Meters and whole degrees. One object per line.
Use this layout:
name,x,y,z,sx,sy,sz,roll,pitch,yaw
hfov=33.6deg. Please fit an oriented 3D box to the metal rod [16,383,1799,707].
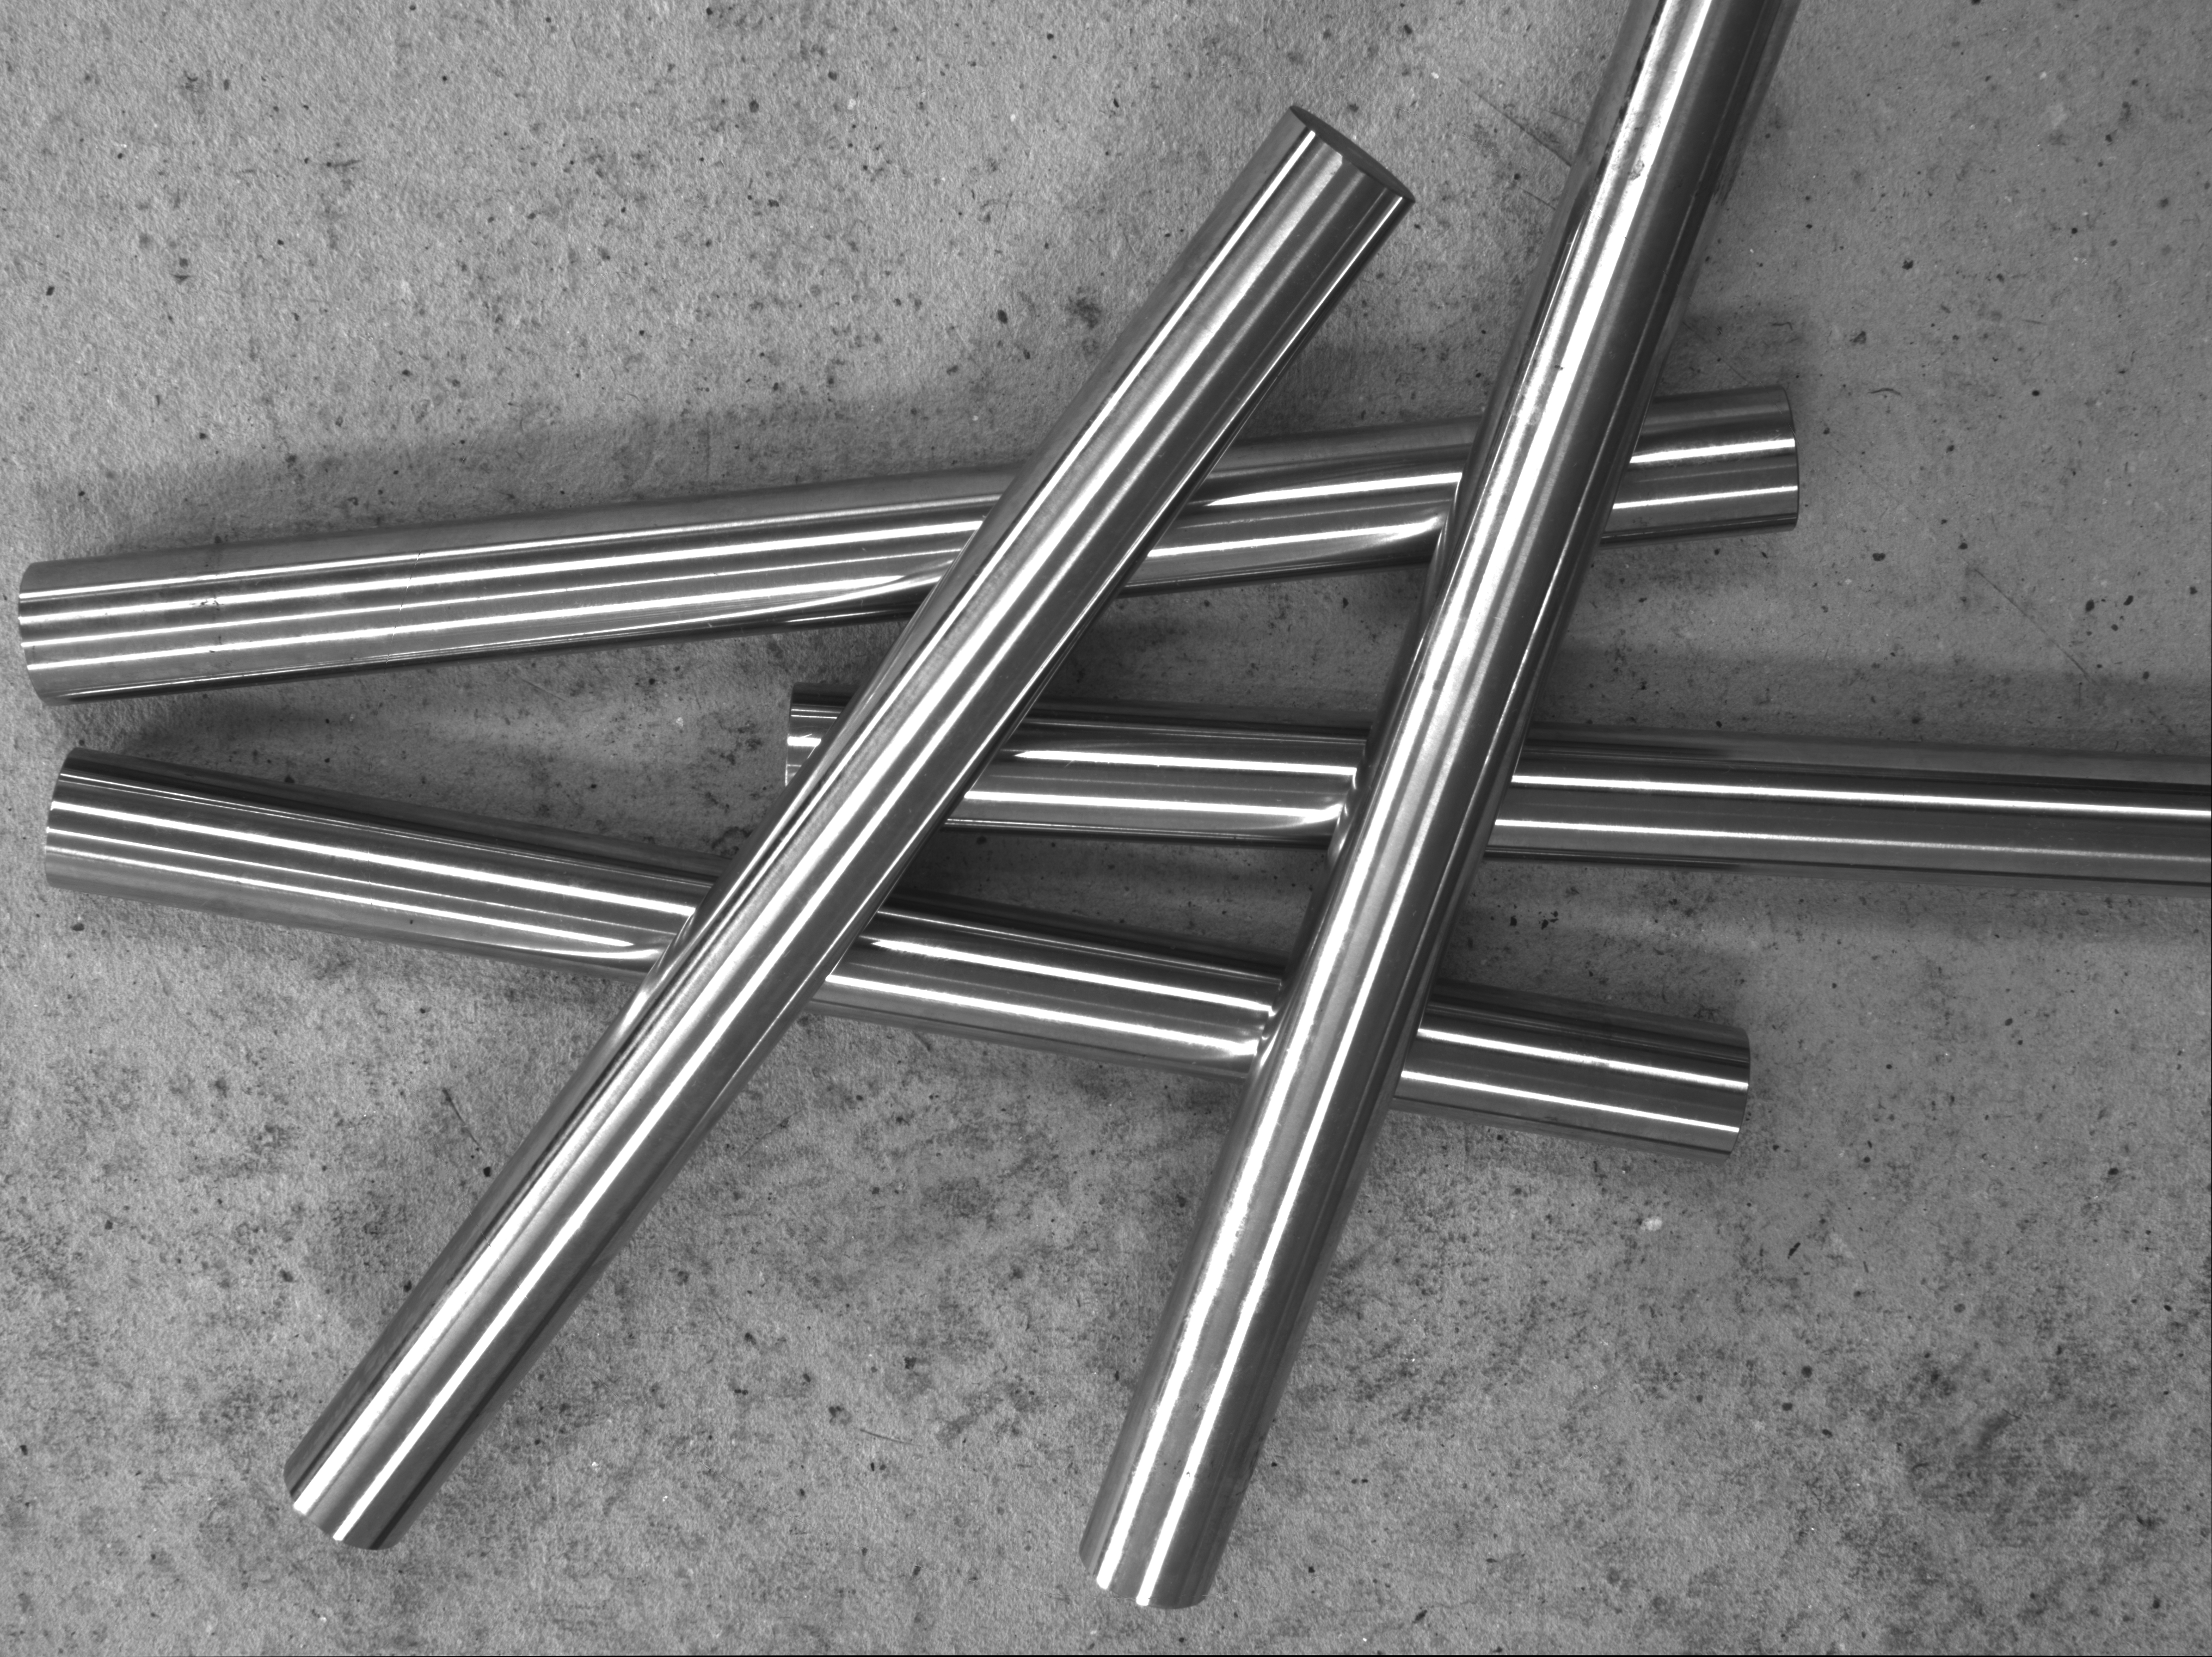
metal rod,-0.034,-0.048,0.626,0.300,0.025,0.025,-6,110,2

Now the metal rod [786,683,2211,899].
metal rod,0.095,-0.005,0.642,0.300,0.025,0.025,3,110,-1

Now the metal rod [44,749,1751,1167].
metal rod,-0.035,0.024,0.652,0.300,0.025,0.025,10,110,-4

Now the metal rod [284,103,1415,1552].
metal rod,-0.049,0.007,0.620,0.025,0.025,0.300,34,106,-12

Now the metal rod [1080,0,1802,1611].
metal rod,0.052,0.000,0.617,0.025,0.025,0.300,16,109,-6
